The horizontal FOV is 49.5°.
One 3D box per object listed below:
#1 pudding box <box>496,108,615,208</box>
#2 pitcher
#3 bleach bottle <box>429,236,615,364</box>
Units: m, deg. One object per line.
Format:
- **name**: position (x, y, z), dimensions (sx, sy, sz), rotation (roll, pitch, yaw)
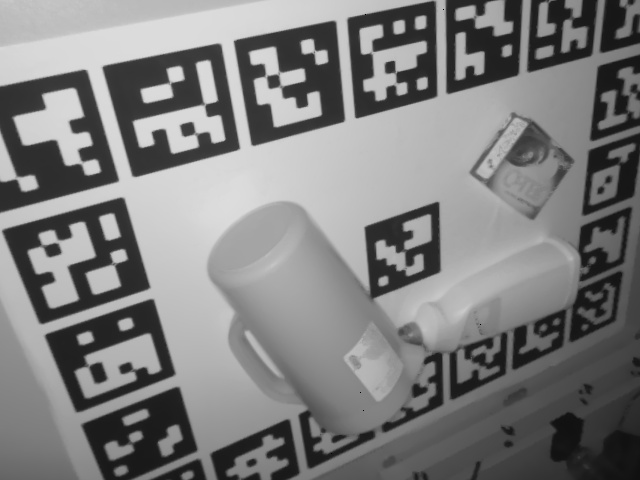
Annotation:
- **pudding box**: position (0.274, -0.087, 0.806), dimensions (0.115, 0.038, 0.089), rotation (30, 103, -32)
- **pitcher**: position (-0.001, 0.075, 0.719), dimensions (0.186, 0.135, 0.243), rotation (-21, 122, 25)
- **bleach bottle**: position (0.245, 0.084, 0.863), dimensions (0.253, 0.067, 0.102), rotation (-20, 116, -15)
